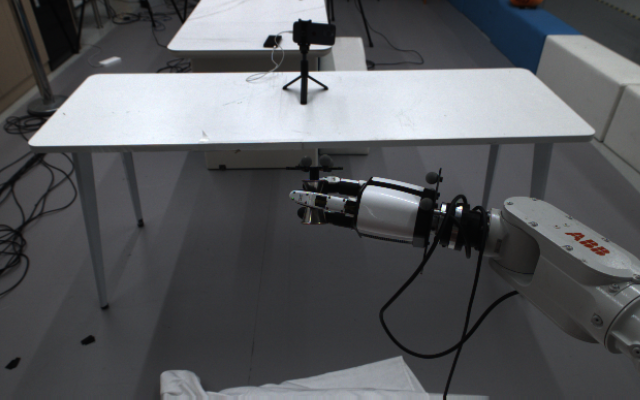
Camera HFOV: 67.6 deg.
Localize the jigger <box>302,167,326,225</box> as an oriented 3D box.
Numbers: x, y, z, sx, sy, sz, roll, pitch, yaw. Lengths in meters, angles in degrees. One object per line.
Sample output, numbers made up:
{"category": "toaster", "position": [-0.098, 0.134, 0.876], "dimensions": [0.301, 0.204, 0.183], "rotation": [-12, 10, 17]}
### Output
{"category": "jigger", "position": [-0.009, 0.001, 0.752], "dimensions": [0.043, 0.071, 0.043], "rotation": [-1, 2, 0]}
